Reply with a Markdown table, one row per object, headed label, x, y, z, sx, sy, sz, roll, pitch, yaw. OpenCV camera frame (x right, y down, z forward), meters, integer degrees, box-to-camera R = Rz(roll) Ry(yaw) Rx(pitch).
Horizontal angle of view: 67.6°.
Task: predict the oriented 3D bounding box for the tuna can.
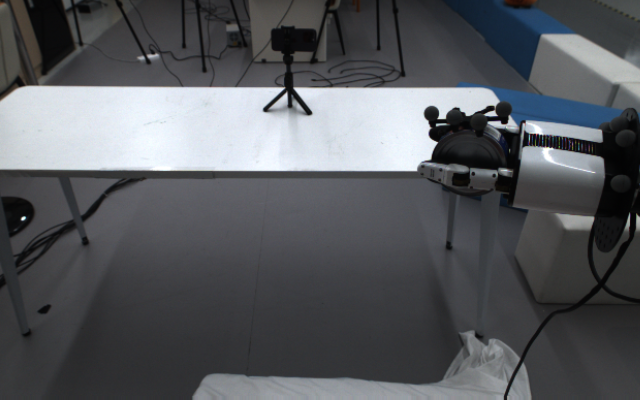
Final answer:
| label | x | y | z | sx | sy | sz | roll | pitch | yaw |
| --- | --- | --- | --- | --- | --- | --- | --- | --- | --- |
| tuna can | 0.180 | -0.051 | 0.576 | 0.085 | 0.085 | 0.034 | 17 | 37 | 20 |
